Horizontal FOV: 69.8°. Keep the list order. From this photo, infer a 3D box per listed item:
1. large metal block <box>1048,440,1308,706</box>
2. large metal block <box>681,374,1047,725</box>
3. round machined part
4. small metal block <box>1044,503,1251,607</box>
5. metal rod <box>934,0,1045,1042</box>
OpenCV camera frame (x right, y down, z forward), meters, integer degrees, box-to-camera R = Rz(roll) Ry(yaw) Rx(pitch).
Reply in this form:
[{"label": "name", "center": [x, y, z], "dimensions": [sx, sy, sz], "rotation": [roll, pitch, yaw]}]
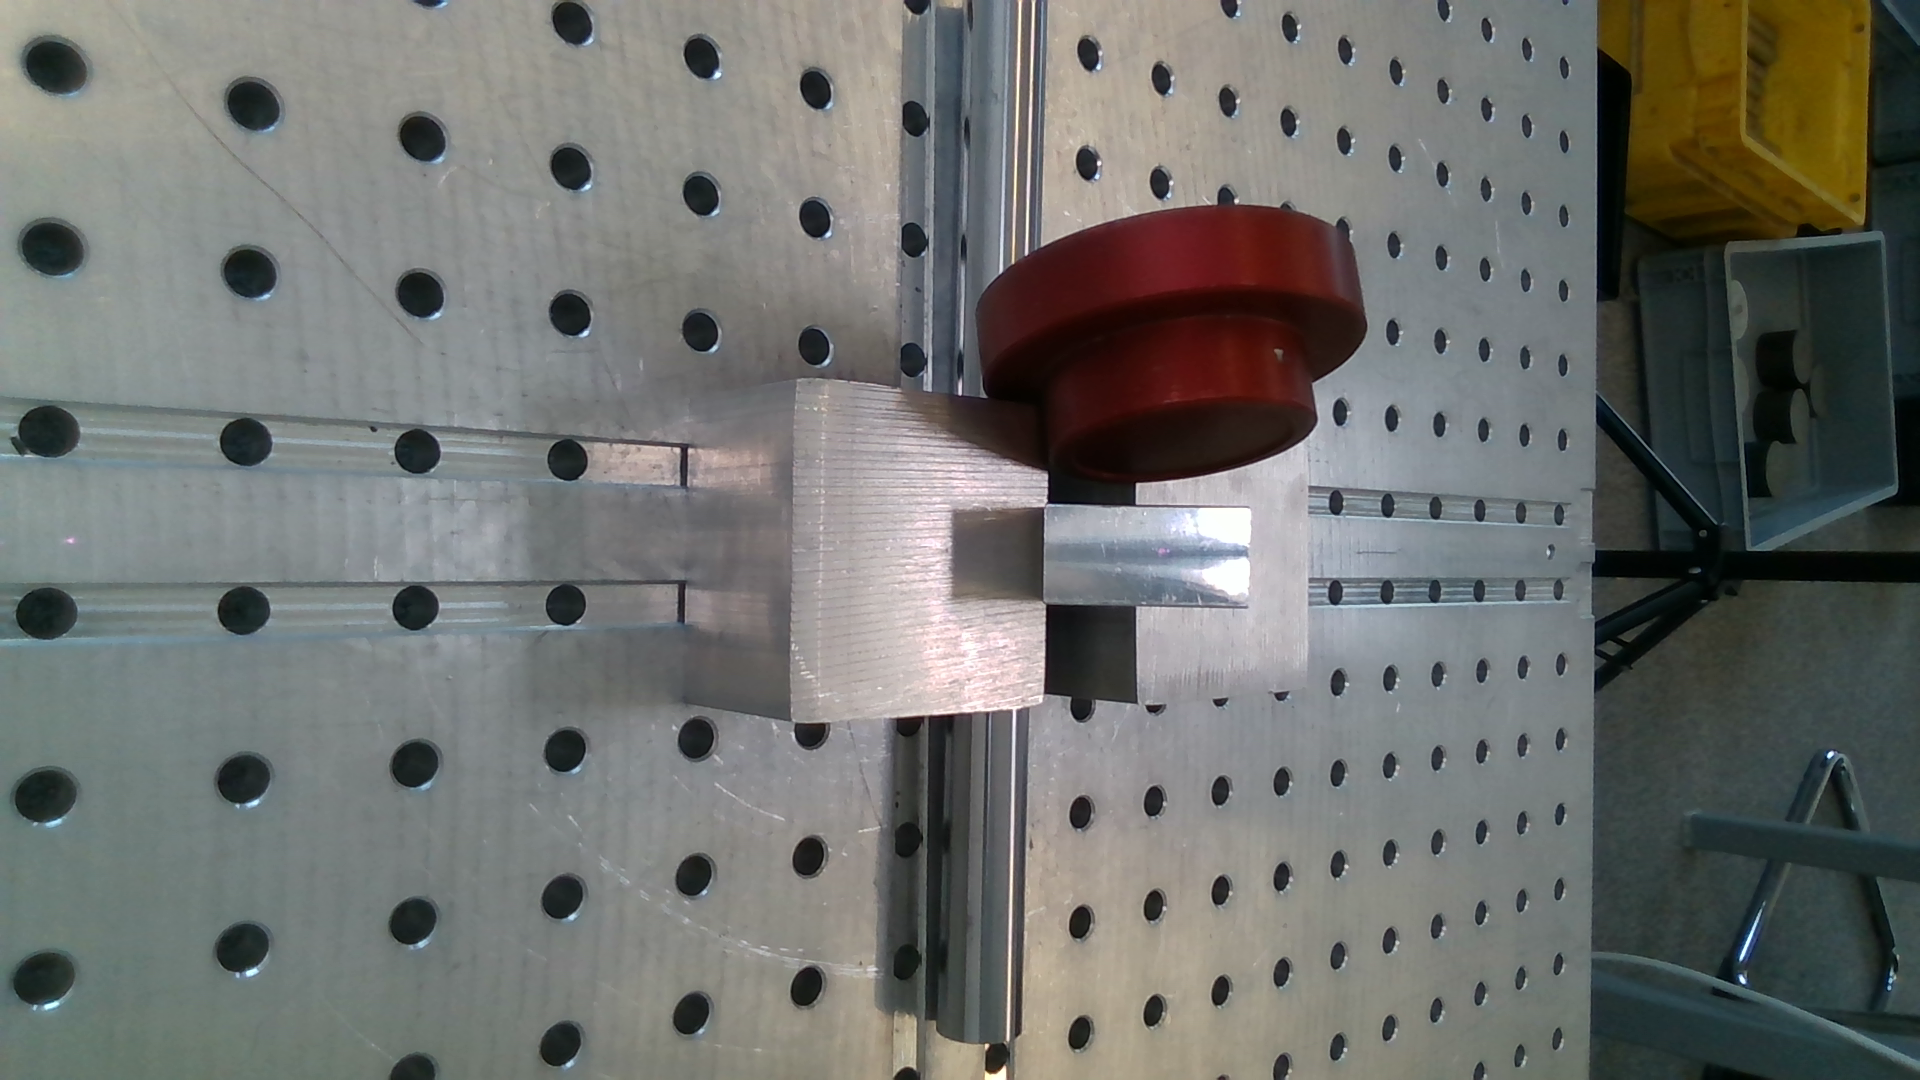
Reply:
[{"label": "large metal block", "center": [0.064, 0.007, 0.432], "dimensions": [0.080, 0.050, 0.080], "rotation": [1, 90, -40]}, {"label": "large metal block", "center": [-0.024, 0.003, 0.358], "dimensions": [0.080, 0.050, 0.080], "rotation": [2, 89, -40]}, {"label": "round machined part", "center": [0.055, -0.044, 0.355], "dimensions": [0.098, 0.098, 0.042], "rotation": [6, 72, -40]}, {"label": "small metal block", "center": [0.048, 0.004, 0.361], "dimensions": [0.050, 0.050, 0.025], "rotation": [6, 85, -84]}, {"label": "metal rod", "center": [0.009, -0.009, 0.402], "dimensions": [0.025, 0.025, 0.300], "rotation": [2, 89, -40]}]
